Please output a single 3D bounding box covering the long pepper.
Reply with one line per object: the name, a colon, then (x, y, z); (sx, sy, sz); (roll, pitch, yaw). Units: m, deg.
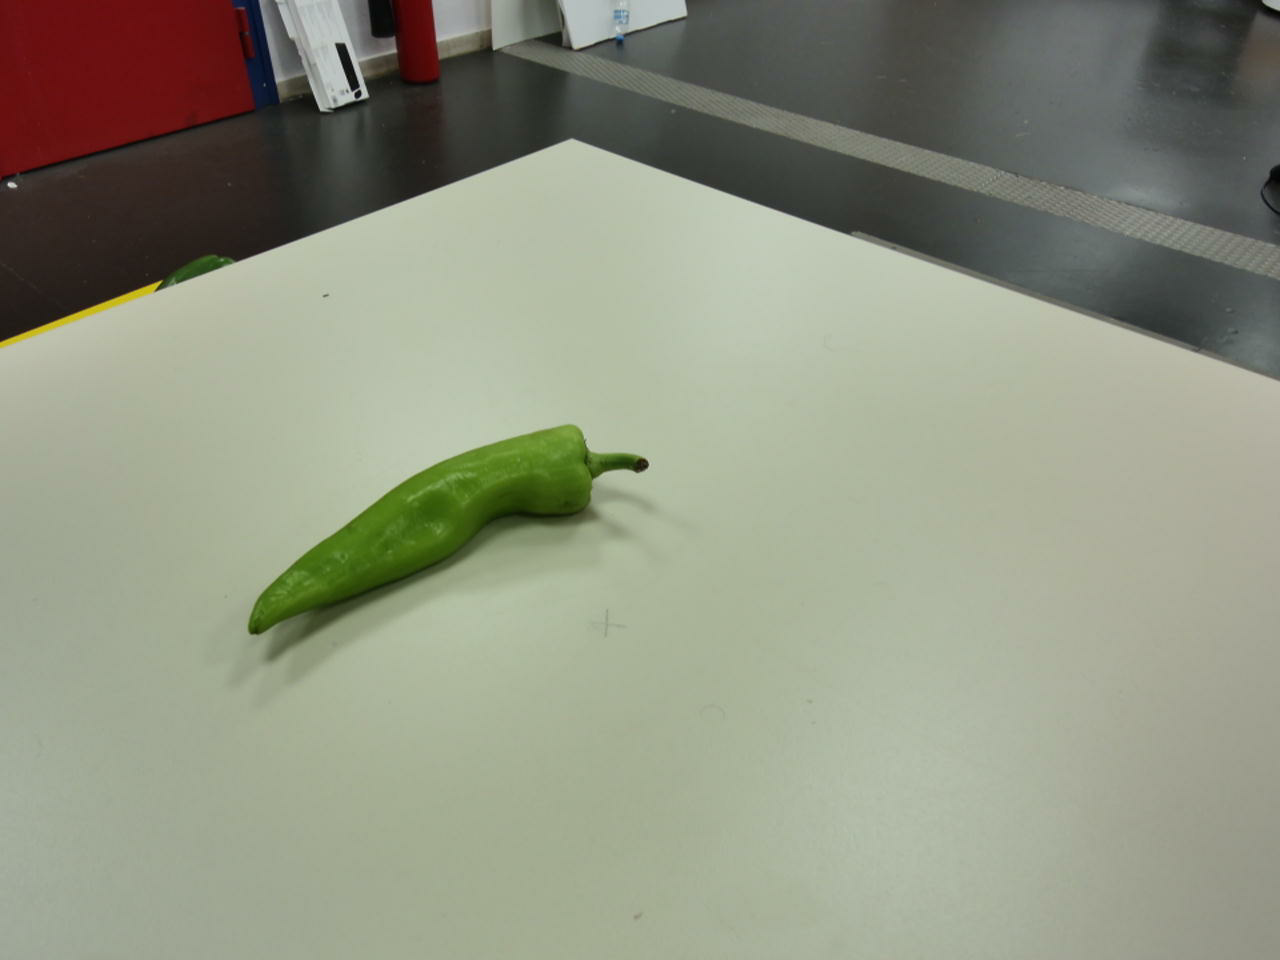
long pepper: (-0.097, 0.017, 0.490); (0.204, 0.045, 0.065); (-21, 42, -27)
